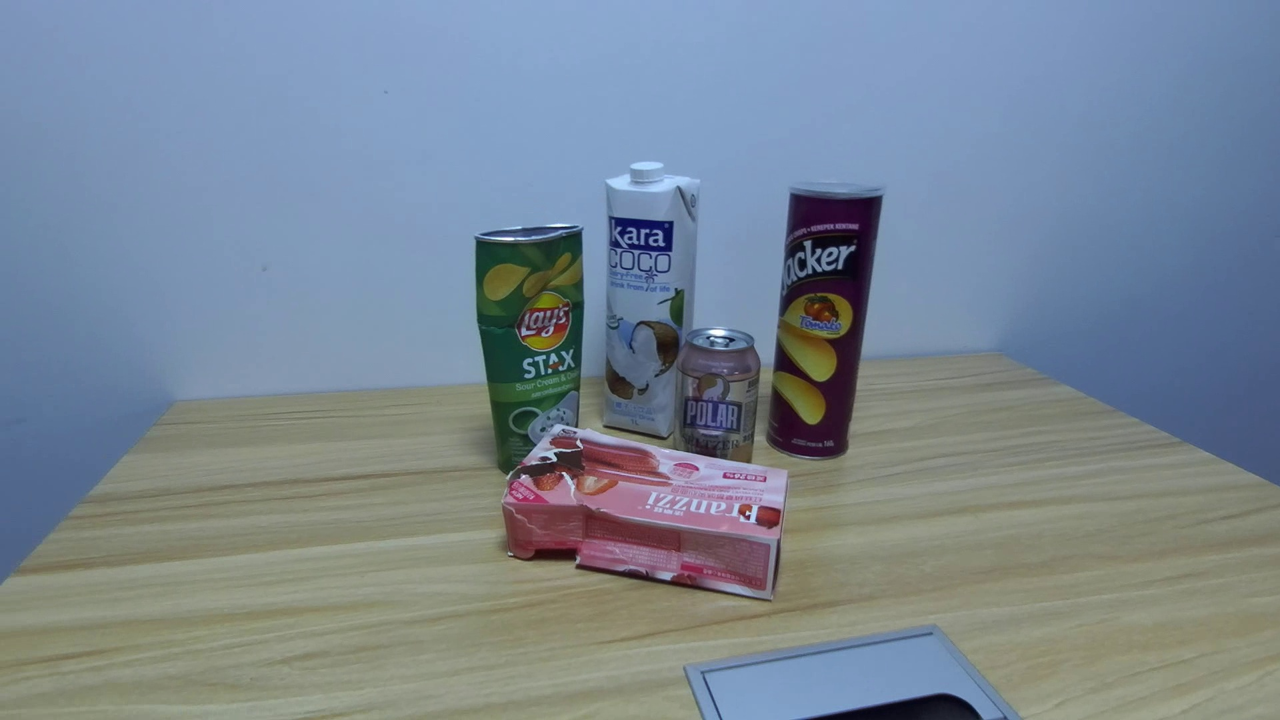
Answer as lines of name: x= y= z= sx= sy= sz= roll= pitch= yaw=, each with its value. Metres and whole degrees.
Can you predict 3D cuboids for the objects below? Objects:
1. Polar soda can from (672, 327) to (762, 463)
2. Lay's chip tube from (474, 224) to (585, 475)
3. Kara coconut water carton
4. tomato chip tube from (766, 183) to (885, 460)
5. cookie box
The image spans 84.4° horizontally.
Polar soda can: x=0.062 y=0.040 z=0.573 sx=0.067 sy=0.125 sz=0.067 roll=2 pitch=20 yaw=0
Lay's chip tube: x=-0.086 y=-0.006 z=0.579 sx=0.069 sy=0.199 sz=0.075 roll=6 pitch=21 yaw=12
Kara coconut water carton: x=0.010 y=-0.055 z=0.650 sx=0.077 sy=0.245 sz=0.075 roll=9 pitch=21 yaw=23
tomato chip tube: x=0.161 y=-0.033 z=0.622 sx=0.078 sy=0.234 sz=0.078 roll=1 pitch=19 yaw=0
cookie box: x=0.009 y=0.100 z=0.496 sx=0.185 sy=0.059 sz=0.105 roll=7 pitch=23 yaw=12
